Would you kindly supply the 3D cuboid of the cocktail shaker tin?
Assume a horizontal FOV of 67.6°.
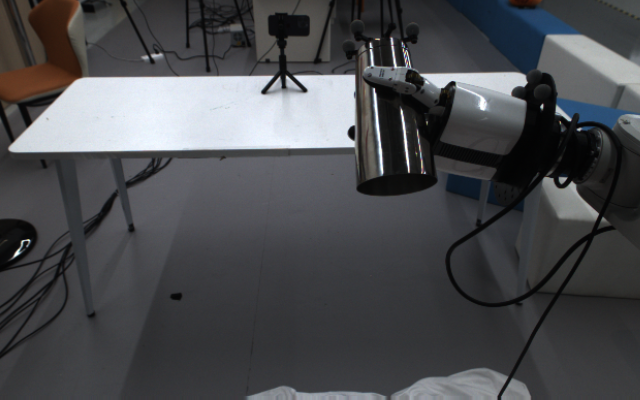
[{"bbox_3d":[0.083,-0.098,0.570,0.093,0.093,0.170,-3,76,-8],"label":"cocktail shaker tin"}]
